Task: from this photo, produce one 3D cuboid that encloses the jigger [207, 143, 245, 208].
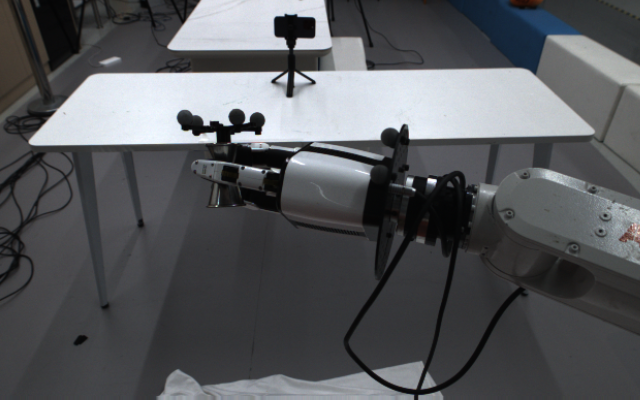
[{"bbox_3d":[-0.104,-0.026,0.530,0.043,0.071,0.043,-2,3,0],"label":"jigger"}]
